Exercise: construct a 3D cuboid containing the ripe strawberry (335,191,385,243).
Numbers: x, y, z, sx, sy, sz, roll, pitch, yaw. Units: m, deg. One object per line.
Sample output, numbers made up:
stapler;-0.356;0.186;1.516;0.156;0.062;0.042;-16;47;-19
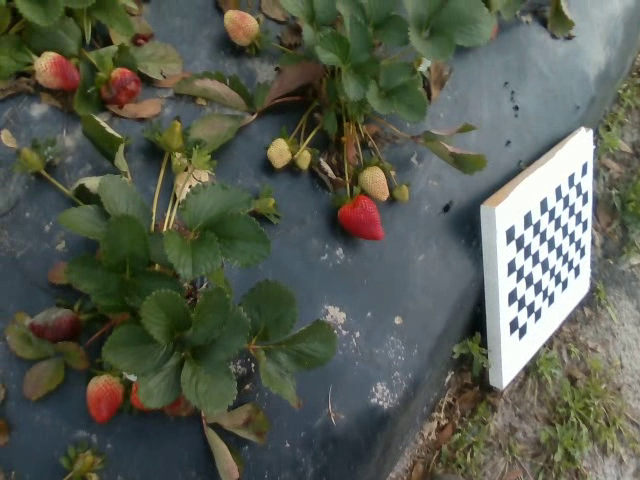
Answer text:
ripe strawberry;0.046;-0.022;0.694;0.050;0.059;0.034;-42;-9;-29
